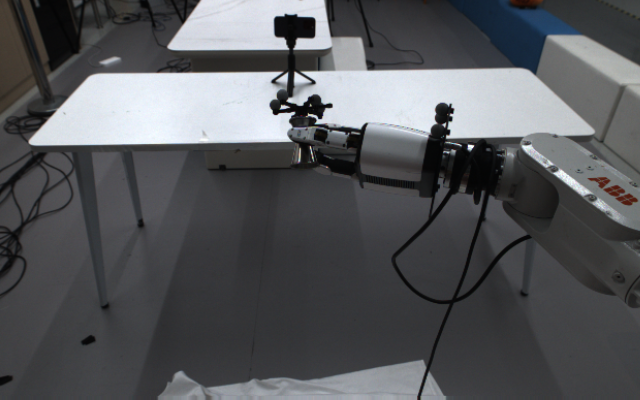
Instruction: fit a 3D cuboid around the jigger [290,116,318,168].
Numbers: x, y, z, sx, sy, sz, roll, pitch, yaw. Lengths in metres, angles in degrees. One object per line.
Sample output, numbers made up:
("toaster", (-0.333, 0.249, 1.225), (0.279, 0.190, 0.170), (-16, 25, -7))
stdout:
("jigger", (-0.024, -0.083, 0.693), (0.043, 0.071, 0.043), (-2, -7, 0))
